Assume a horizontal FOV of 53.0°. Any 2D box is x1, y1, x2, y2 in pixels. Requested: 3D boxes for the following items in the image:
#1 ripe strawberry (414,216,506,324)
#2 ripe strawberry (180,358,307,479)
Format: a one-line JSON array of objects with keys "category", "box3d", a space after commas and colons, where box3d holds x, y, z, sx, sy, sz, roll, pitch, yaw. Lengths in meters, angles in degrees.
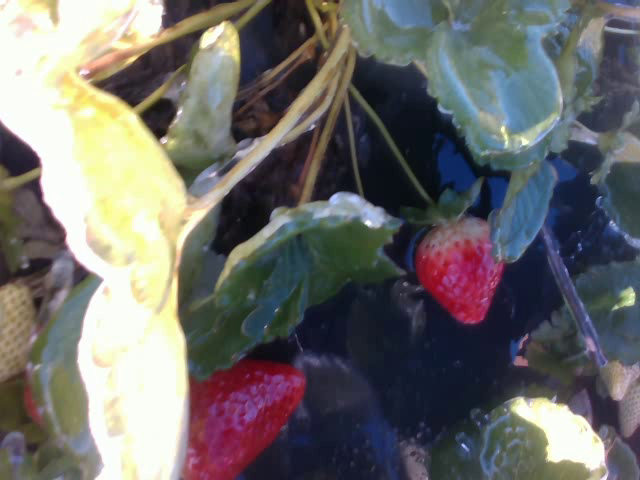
[{"category": "ripe strawberry", "box3d": [0.056, 0.013, 0.230, 0.039, 0.047, 0.040, -29, 30, -26]}, {"category": "ripe strawberry", "box3d": [-0.023, 0.062, 0.210, 0.056, 0.044, 0.040, -19, 36, -33]}]
